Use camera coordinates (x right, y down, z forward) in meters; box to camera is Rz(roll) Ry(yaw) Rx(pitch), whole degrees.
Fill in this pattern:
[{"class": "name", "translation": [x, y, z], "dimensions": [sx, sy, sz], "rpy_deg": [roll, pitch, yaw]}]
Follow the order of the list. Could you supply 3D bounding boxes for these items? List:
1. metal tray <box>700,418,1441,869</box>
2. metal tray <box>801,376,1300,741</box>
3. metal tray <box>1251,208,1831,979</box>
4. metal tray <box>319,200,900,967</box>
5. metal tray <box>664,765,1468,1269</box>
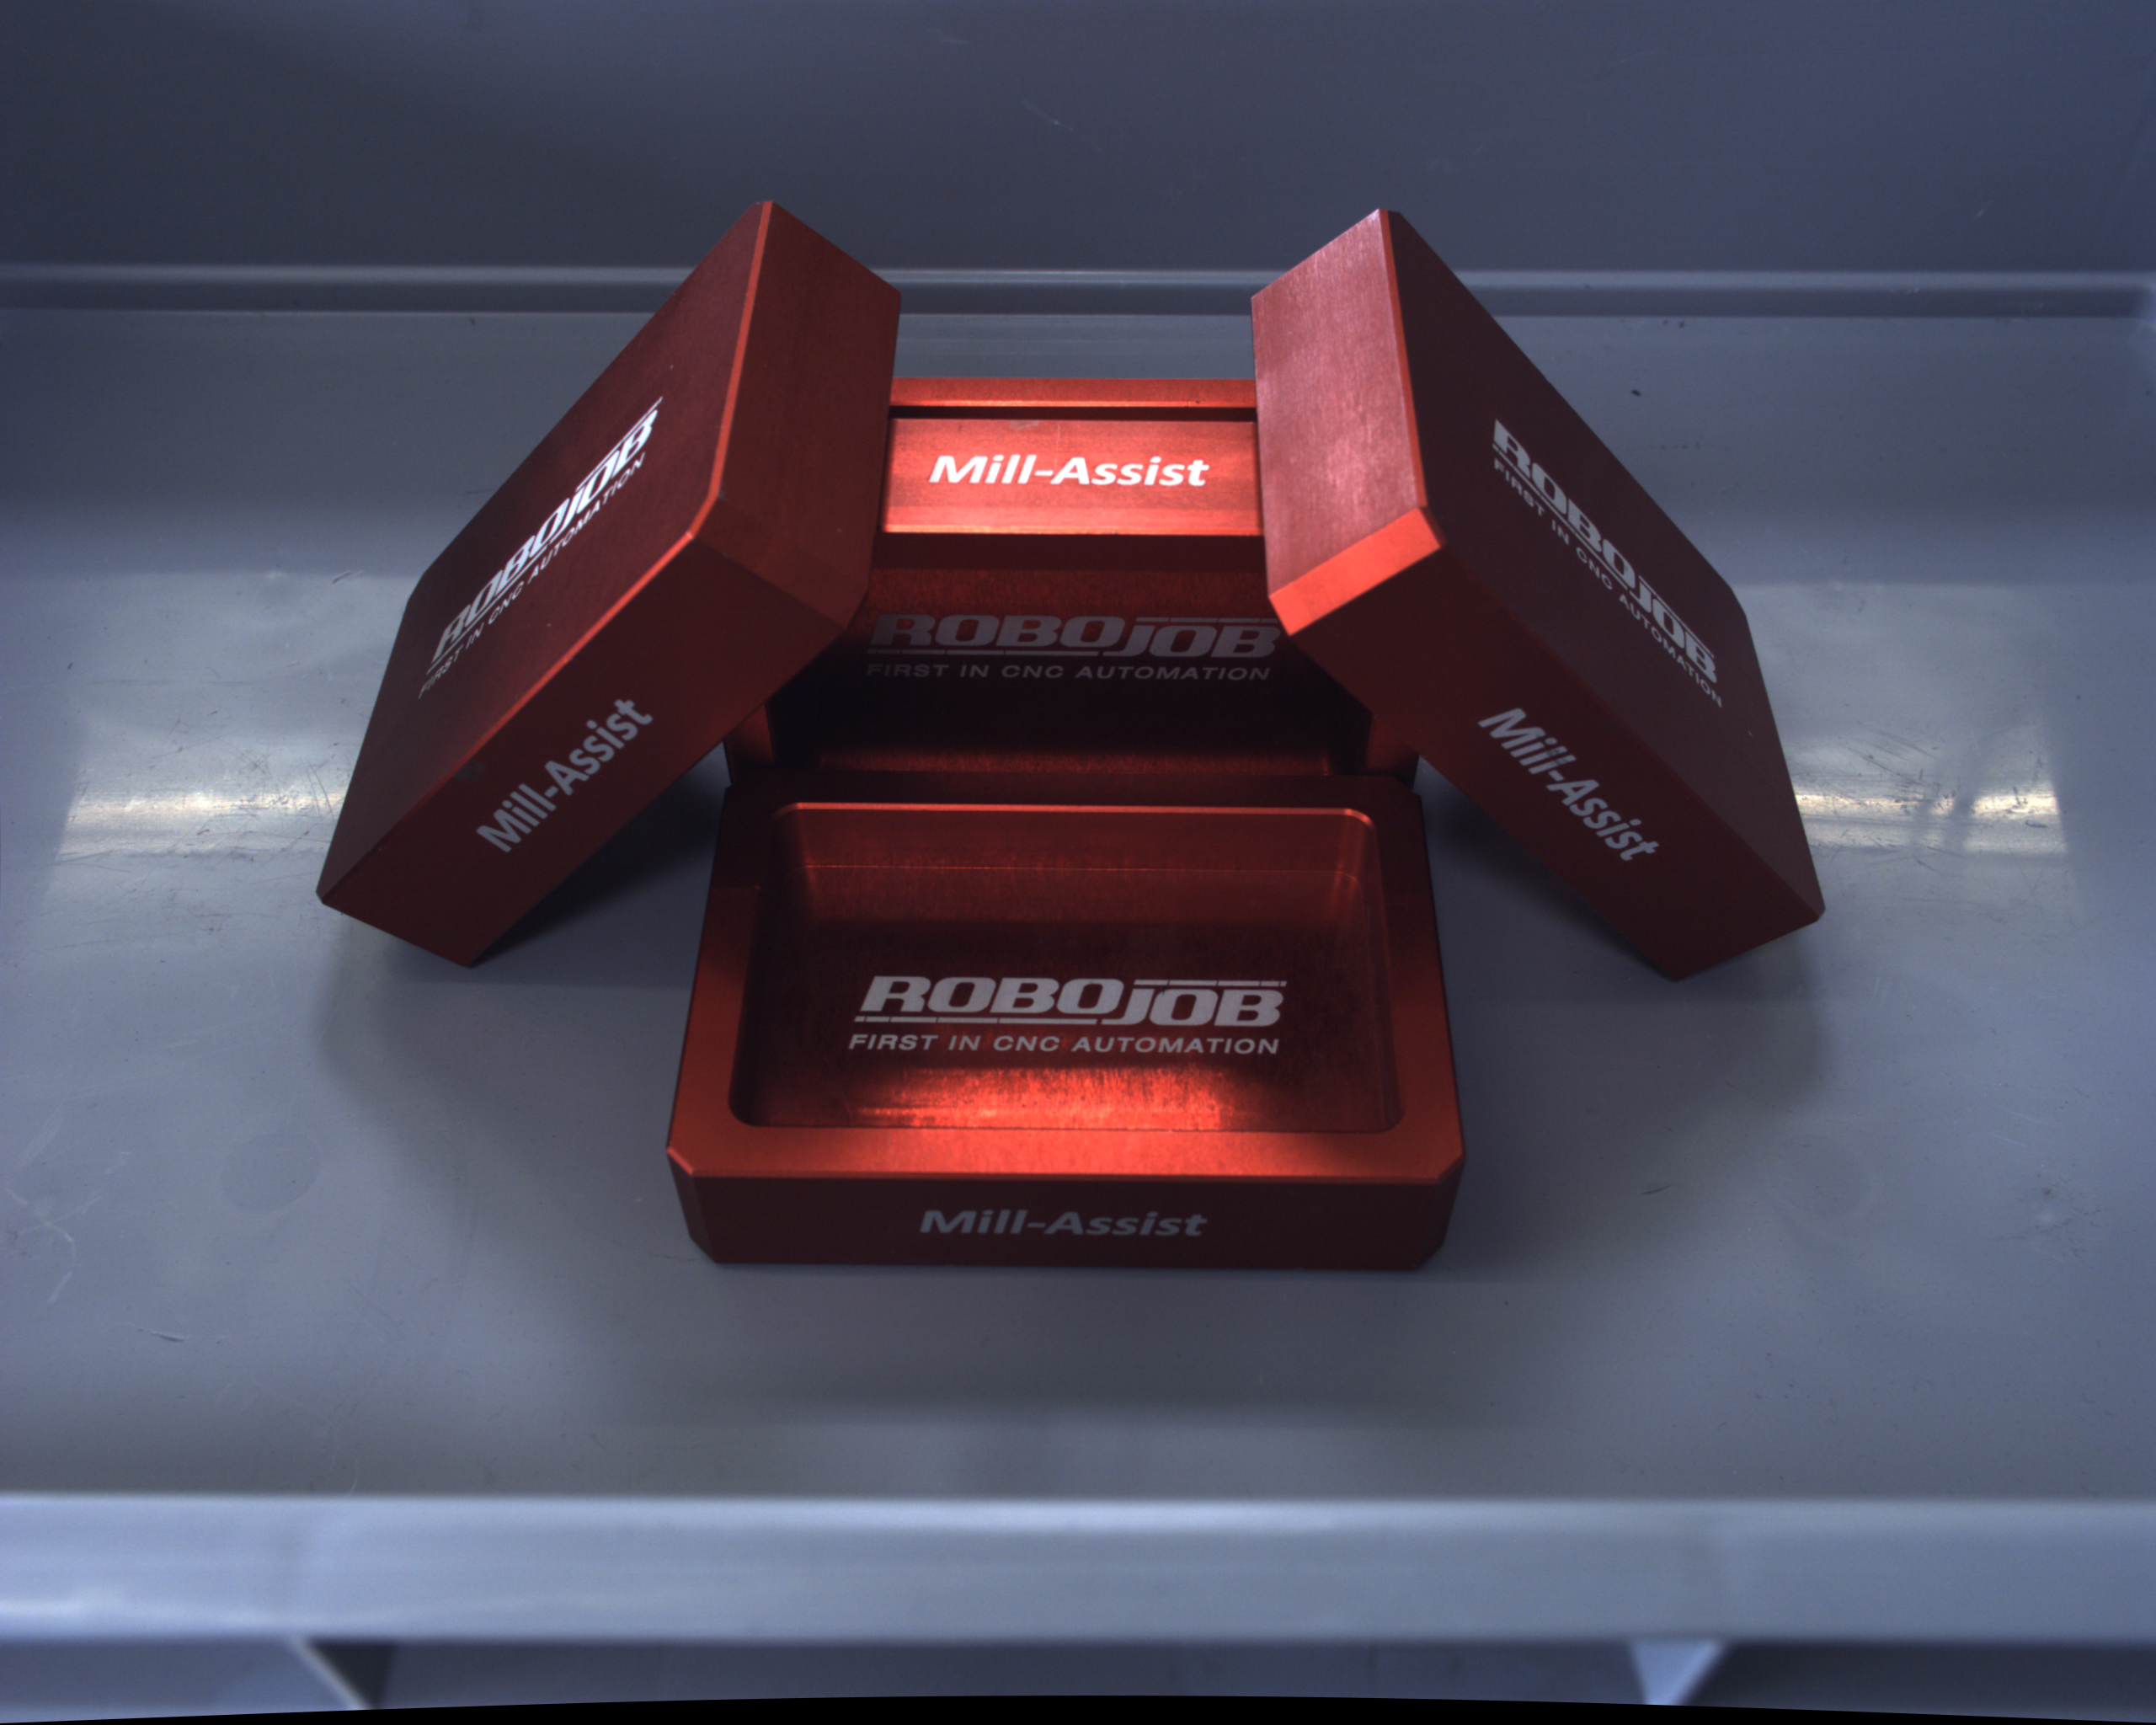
[{"class": "metal tray", "translation": [-0.002, -0.039, 0.393], "dimensions": [0.131, 0.089, 0.030], "rpy_deg": [1, 50, 0]}, {"class": "metal tray", "translation": [0.002, -0.066, 0.455], "dimensions": [0.131, 0.030, 0.090], "rpy_deg": [0, 50, -1]}, {"class": "metal tray", "translation": [0.085, -0.047, 0.383], "dimensions": [0.030, 0.130, 0.090], "rpy_deg": [-30, 41, 32]}, {"class": "metal tray", "translation": [-0.087, -0.049, 0.384], "dimensions": [0.030, 0.130, 0.090], "rpy_deg": [31, 41, -30]}, {"class": "metal tray", "translation": [-0.002, 0.026, 0.376], "dimensions": [0.131, 0.030, 0.090], "rpy_deg": [1, 50, -1]}]
